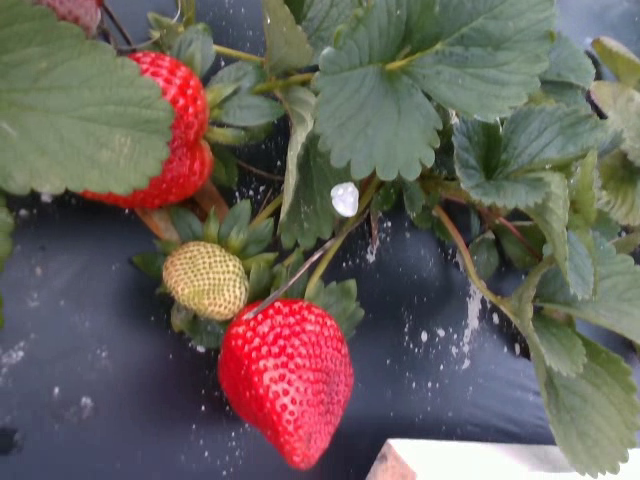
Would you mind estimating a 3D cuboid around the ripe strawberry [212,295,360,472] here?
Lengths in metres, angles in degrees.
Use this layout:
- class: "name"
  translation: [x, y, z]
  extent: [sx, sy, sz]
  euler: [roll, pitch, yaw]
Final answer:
- class: "ripe strawberry"
  translation: [-0.010, 0.052, 0.190]
  extent: [0.057, 0.056, 0.065]
  euler: [-15, 33, -3]
